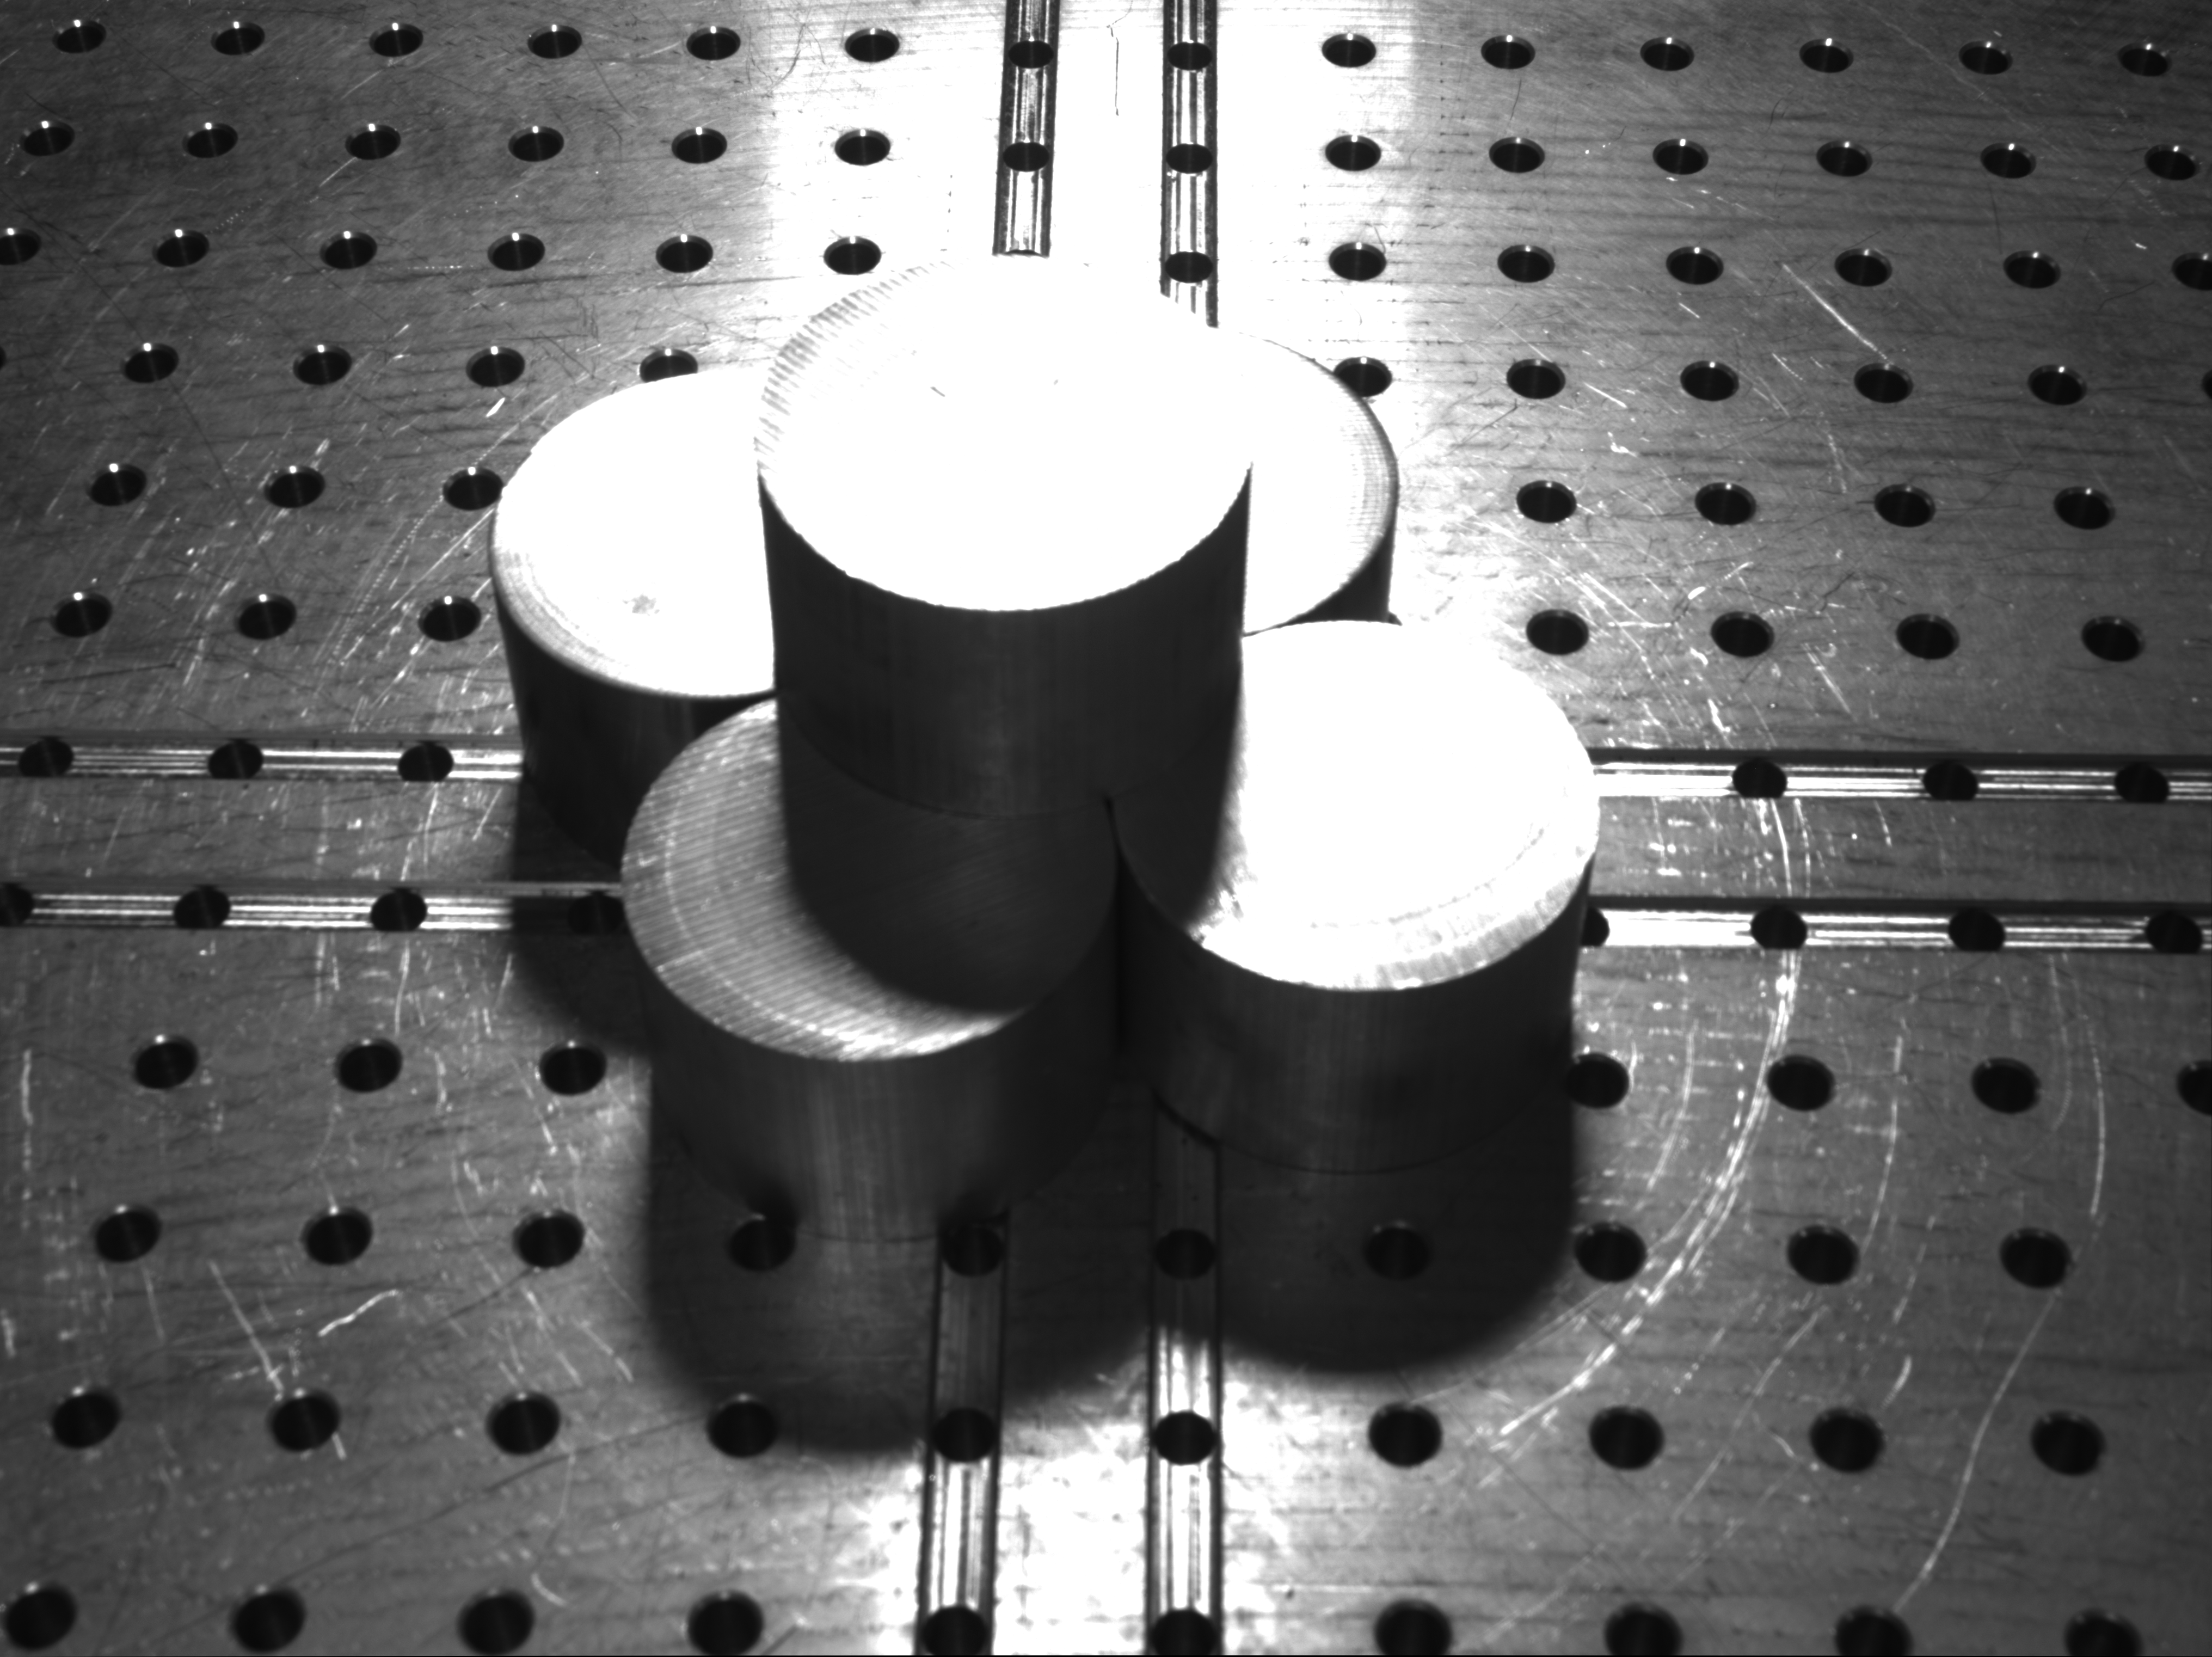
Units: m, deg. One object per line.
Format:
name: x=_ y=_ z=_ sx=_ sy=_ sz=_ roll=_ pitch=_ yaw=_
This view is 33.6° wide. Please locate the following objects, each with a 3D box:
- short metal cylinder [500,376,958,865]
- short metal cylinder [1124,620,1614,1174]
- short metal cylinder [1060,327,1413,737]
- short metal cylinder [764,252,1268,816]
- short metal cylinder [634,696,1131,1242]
short metal cylinder: x=-0.065 y=-0.036 z=0.658 sx=0.080 sy=0.050 sz=0.080 roll=0 pitch=50 yaw=0
short metal cylinder: x=0.043 y=0.011 z=0.619 sx=0.080 sy=0.050 sz=0.080 roll=0 pitch=50 yaw=0
short metal cylinder: x=0.014 y=-0.046 z=0.667 sx=0.080 sy=0.050 sz=0.080 roll=0 pitch=50 yaw=0
short metal cylinder: x=-0.015 y=-0.049 z=0.602 sx=0.080 sy=0.050 sz=0.080 roll=1 pitch=51 yaw=-1
short metal cylinder: x=-0.036 y=0.021 z=0.610 sx=0.080 sy=0.050 sz=0.080 roll=0 pitch=50 yaw=0
